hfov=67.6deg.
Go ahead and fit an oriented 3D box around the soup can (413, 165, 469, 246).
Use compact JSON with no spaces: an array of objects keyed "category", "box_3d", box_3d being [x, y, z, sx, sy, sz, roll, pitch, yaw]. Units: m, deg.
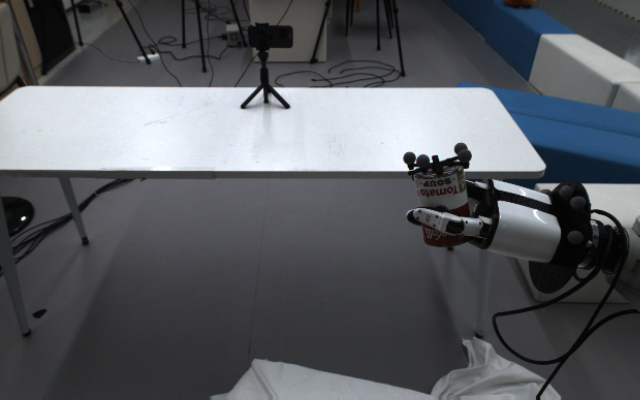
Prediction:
[{"category":"soup can","box_3d":[0.170,0.004,0.662,0.067,0.101,0.067,-12,17,4]}]
